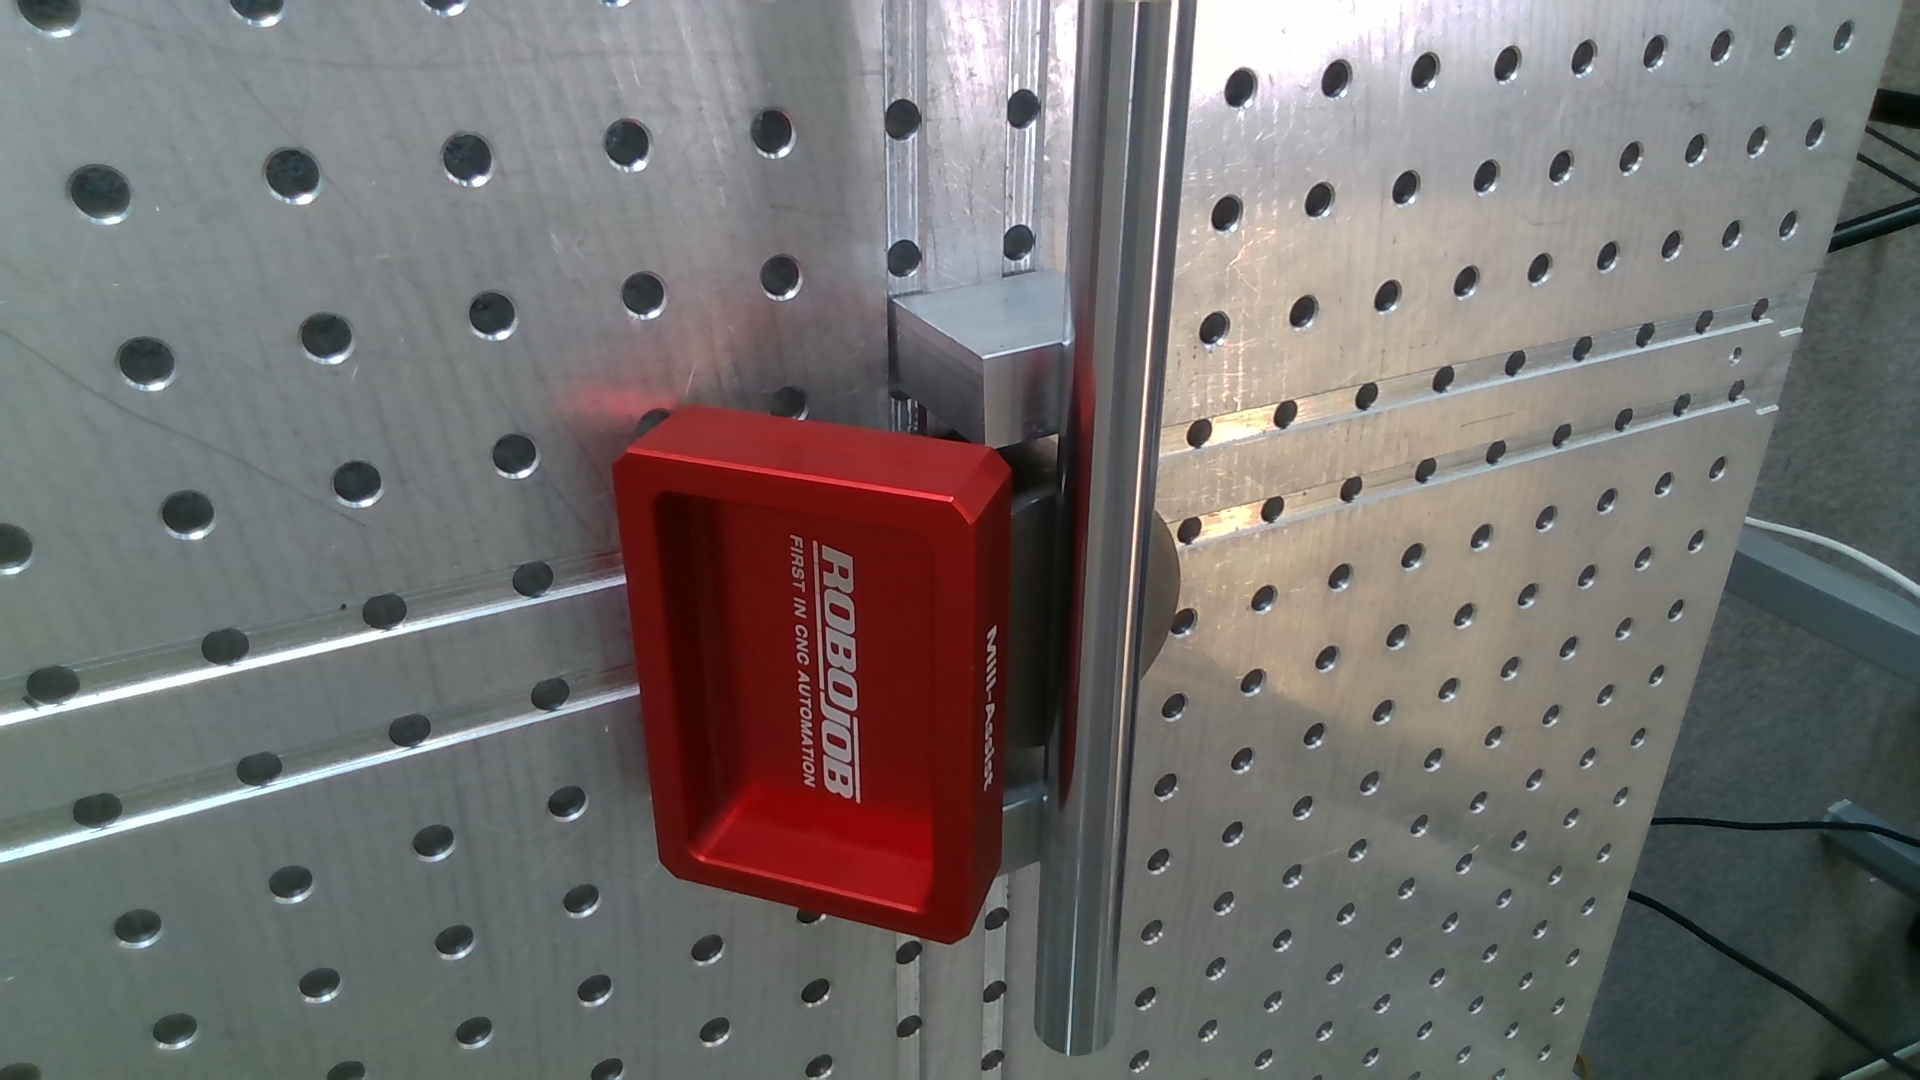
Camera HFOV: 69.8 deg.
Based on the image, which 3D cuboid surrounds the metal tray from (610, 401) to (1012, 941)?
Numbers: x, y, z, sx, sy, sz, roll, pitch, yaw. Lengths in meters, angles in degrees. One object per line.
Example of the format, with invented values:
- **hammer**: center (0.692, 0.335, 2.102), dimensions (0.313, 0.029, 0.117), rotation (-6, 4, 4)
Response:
- **metal tray**: center (-0.035, 0.035, 0.351), dimensions (0.030, 0.090, 0.130), rotation (-55, 150, -57)

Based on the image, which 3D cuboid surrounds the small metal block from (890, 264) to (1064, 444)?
- **small metal block**: center (0.016, -0.050, 0.360), dimensions (0.050, 0.050, 0.025), rotation (-15, 122, -24)

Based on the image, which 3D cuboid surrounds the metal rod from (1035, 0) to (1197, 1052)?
- **metal rod**: center (0.037, 0.017, 0.360), dimensions (0.025, 0.025, 0.301), rotation (-14, 121, -25)

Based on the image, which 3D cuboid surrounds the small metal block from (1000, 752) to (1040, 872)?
- **small metal block**: center (0.013, 0.073, 0.425), dimensions (0.050, 0.050, 0.025), rotation (-15, 122, -24)

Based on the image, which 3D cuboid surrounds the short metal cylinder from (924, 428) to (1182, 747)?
- **short metal cylinder**: center (0.016, 0.012, 0.393), dimensions (0.080, 0.050, 0.080), rotation (-14, 122, -25)
